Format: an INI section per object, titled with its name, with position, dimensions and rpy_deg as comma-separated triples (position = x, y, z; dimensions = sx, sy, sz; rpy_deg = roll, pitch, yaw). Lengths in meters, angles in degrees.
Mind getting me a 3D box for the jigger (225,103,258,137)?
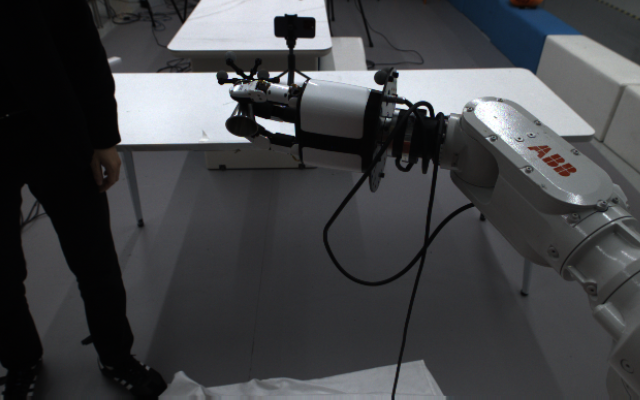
[jigger]
position = -0.104, -0.129, 0.661
dimensions = 0.043, 0.043, 0.071
rpy_deg = 2, 59, 0
